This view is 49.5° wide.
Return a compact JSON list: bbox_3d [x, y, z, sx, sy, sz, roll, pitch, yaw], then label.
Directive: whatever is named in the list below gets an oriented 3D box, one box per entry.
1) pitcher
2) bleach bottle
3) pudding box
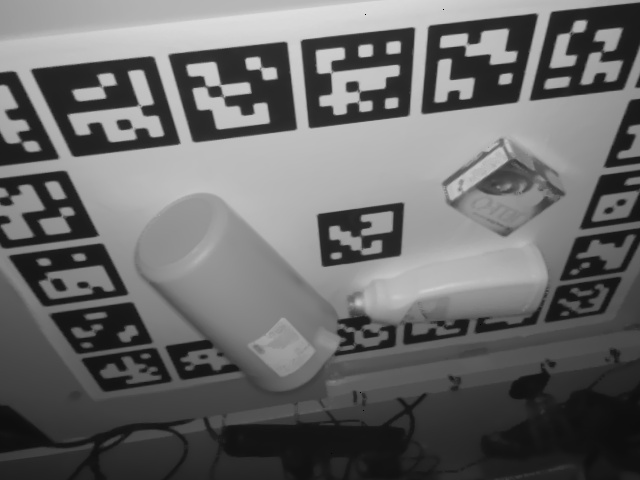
[{"bbox_3d":[-0.095,0.055,0.780,0.186,0.135,0.243,3,143,39],"label":"pitcher"},{"bbox_3d":[0.168,0.081,0.885,0.251,0.068,0.102,-8,133,0],"label":"bleach bottle"},{"bbox_3d":[0.216,-0.049,0.767,0.115,0.039,0.088,29,130,-33],"label":"pudding box"}]
